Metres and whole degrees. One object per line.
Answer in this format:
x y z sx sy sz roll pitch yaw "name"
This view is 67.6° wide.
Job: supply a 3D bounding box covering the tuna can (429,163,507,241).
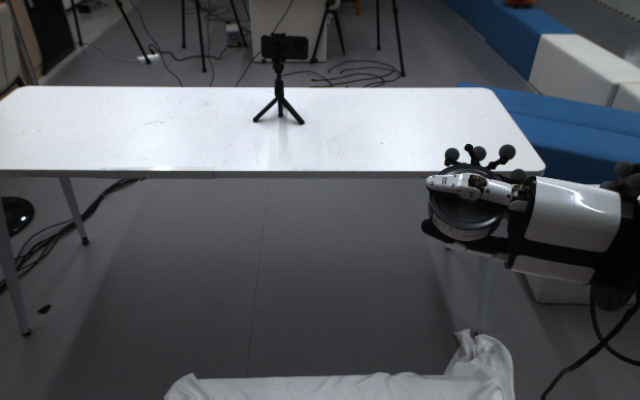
0.168 -0.002 0.550 0.085 0.034 0.085 -4 54 6 "tuna can"
